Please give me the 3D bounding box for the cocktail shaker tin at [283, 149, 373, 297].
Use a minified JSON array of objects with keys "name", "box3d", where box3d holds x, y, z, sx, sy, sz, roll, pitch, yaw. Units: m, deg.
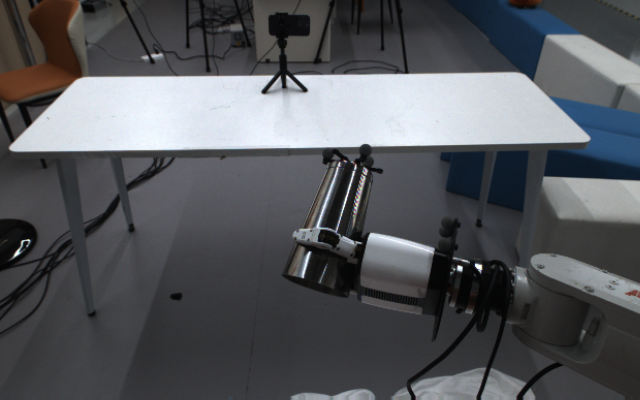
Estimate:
[{"name":"cocktail shaker tin","box3d":[0.017,0.037,0.656,0.093,0.093,0.170,14,73,17]}]
